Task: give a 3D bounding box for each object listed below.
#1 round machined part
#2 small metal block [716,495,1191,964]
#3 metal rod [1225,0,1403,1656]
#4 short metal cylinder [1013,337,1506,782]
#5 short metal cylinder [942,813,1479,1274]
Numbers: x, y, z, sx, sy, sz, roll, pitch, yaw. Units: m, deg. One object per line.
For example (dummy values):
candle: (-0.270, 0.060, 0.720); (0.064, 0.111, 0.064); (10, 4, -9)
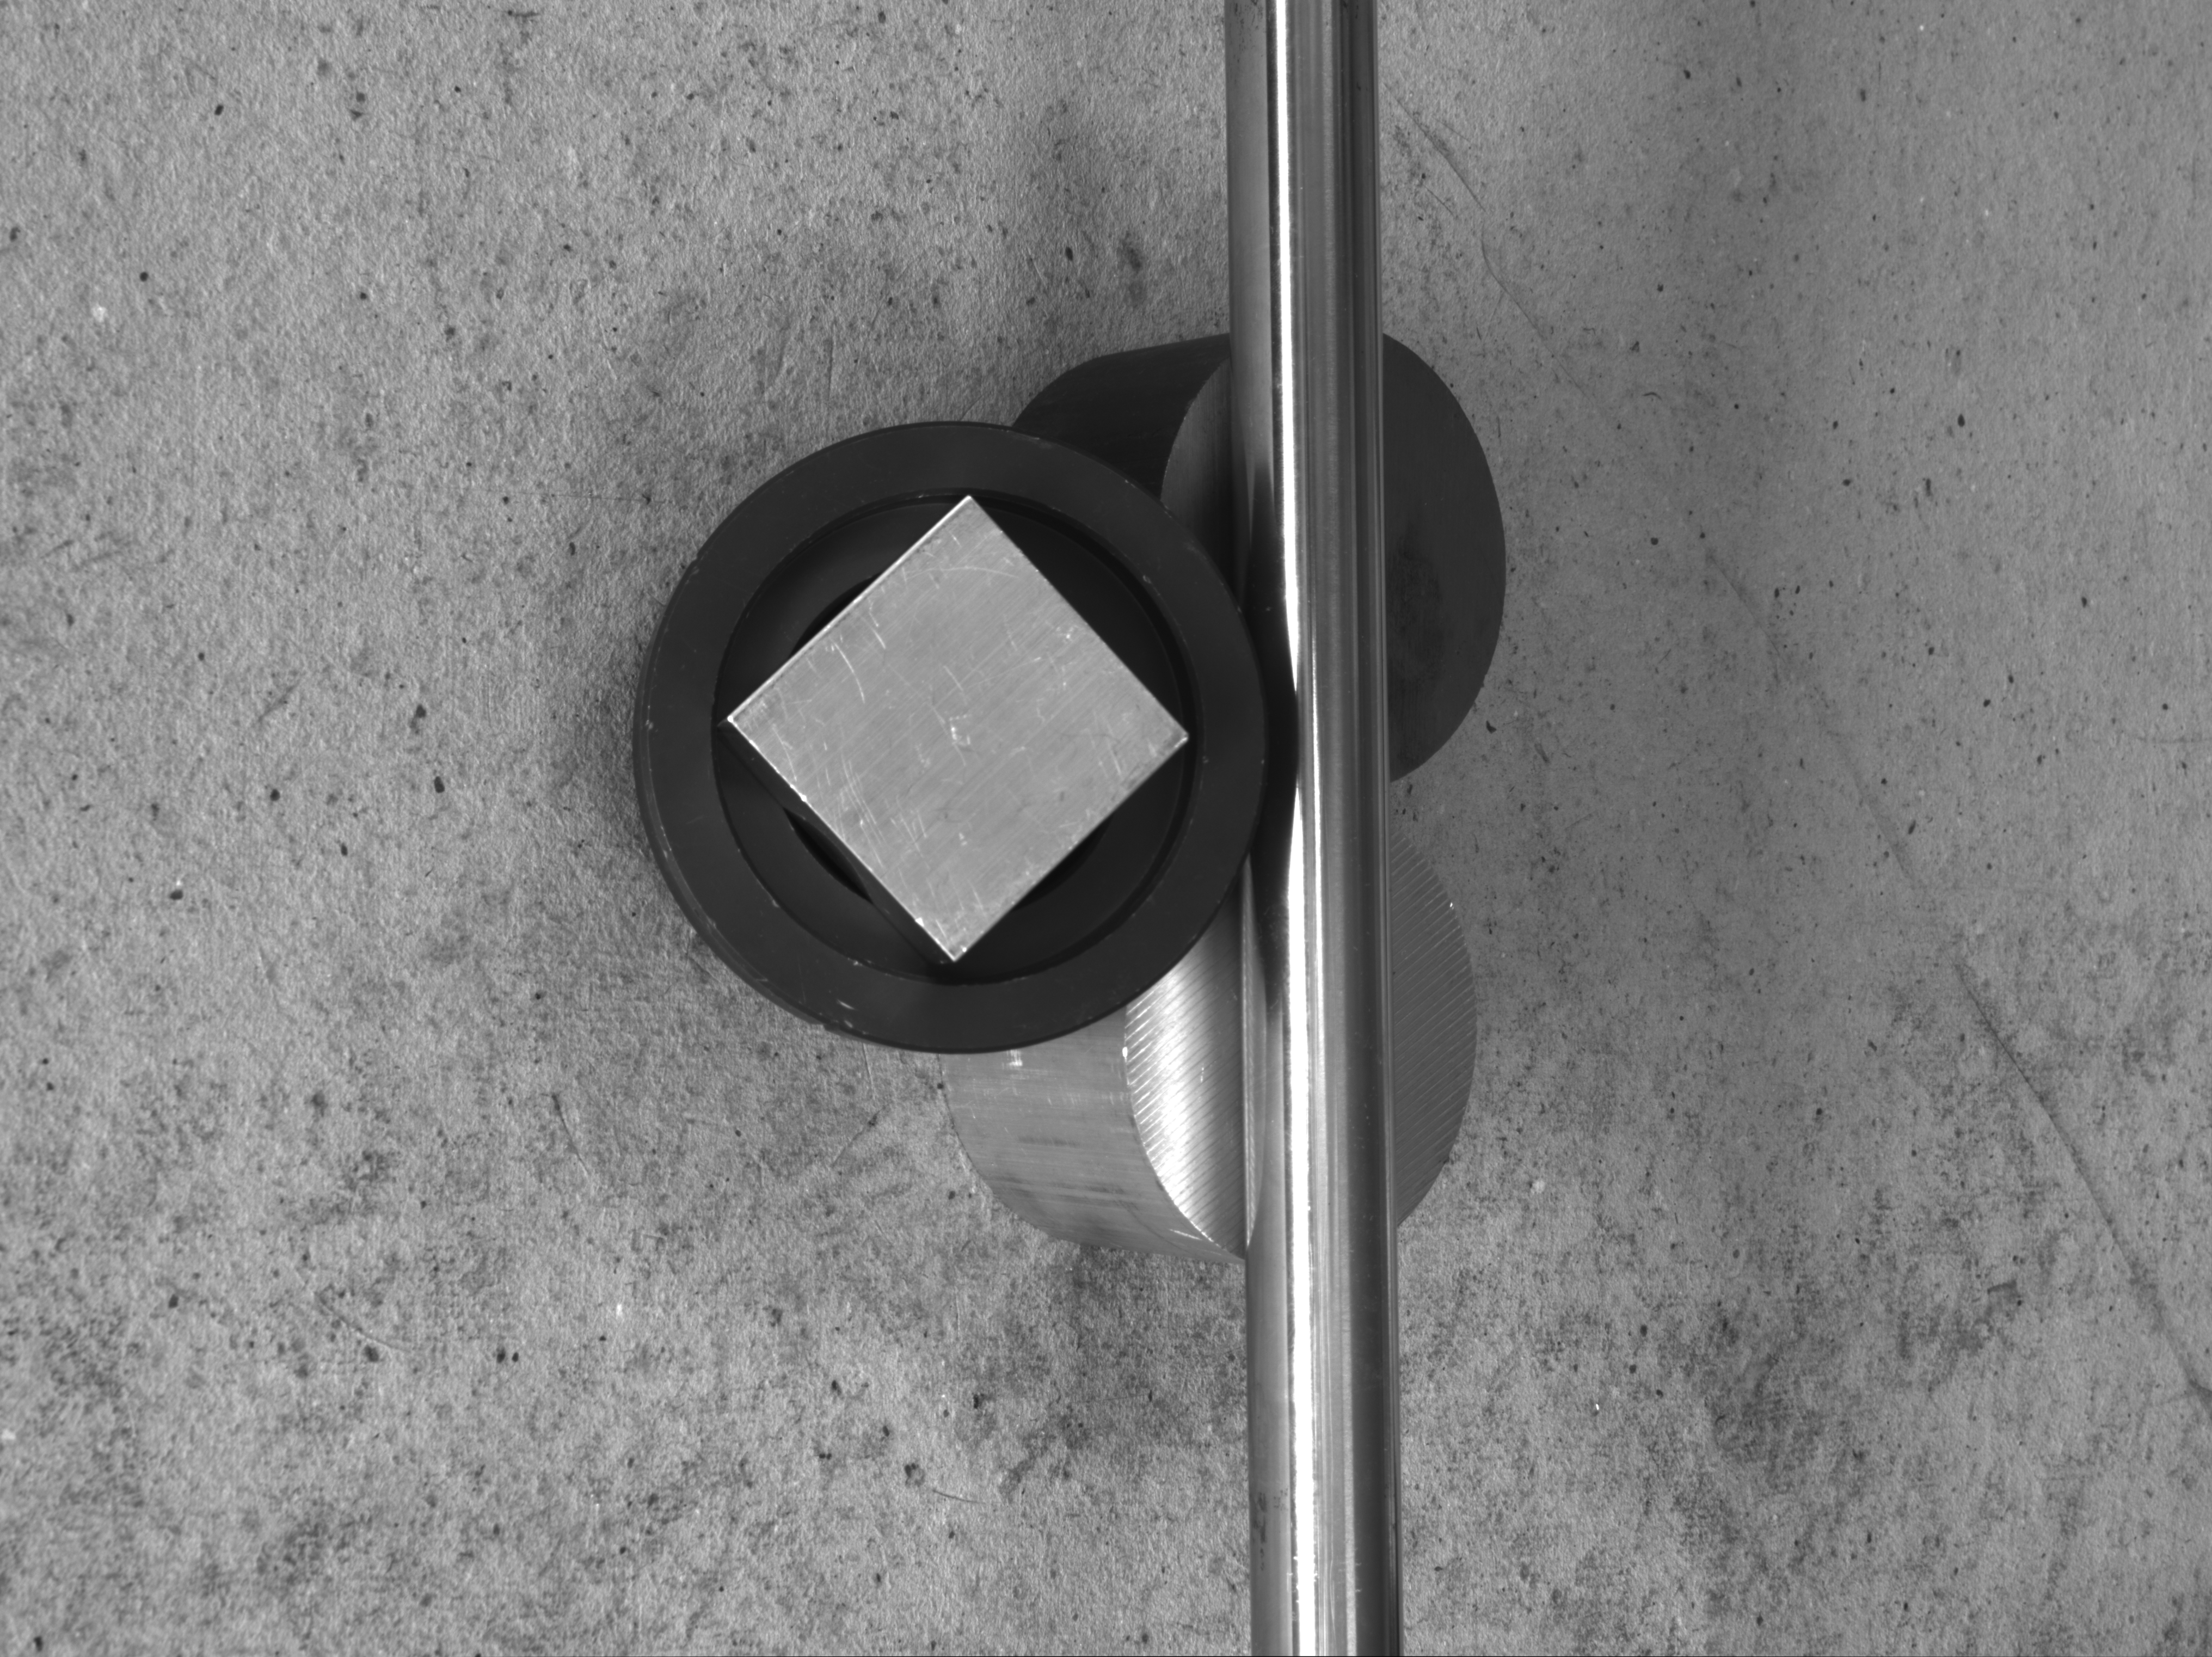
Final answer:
round machined part: (-0.026, -0.013, 0.587); (0.098, 0.042, 0.098); (1, 87, -11)
small metal block: (-0.024, -0.014, 0.564); (0.050, 0.025, 0.050); (-43, 95, -10)
metal rod: (0.034, -0.010, 0.600); (0.025, 0.025, 0.300); (-1, 90, -40)
short metal cylinder: (0.024, -0.046, 0.640); (0.080, 0.050, 0.080); (0, 90, -40)
short metal cylinder: (0.018, 0.035, 0.635); (0.080, 0.050, 0.080); (1, 88, -40)
